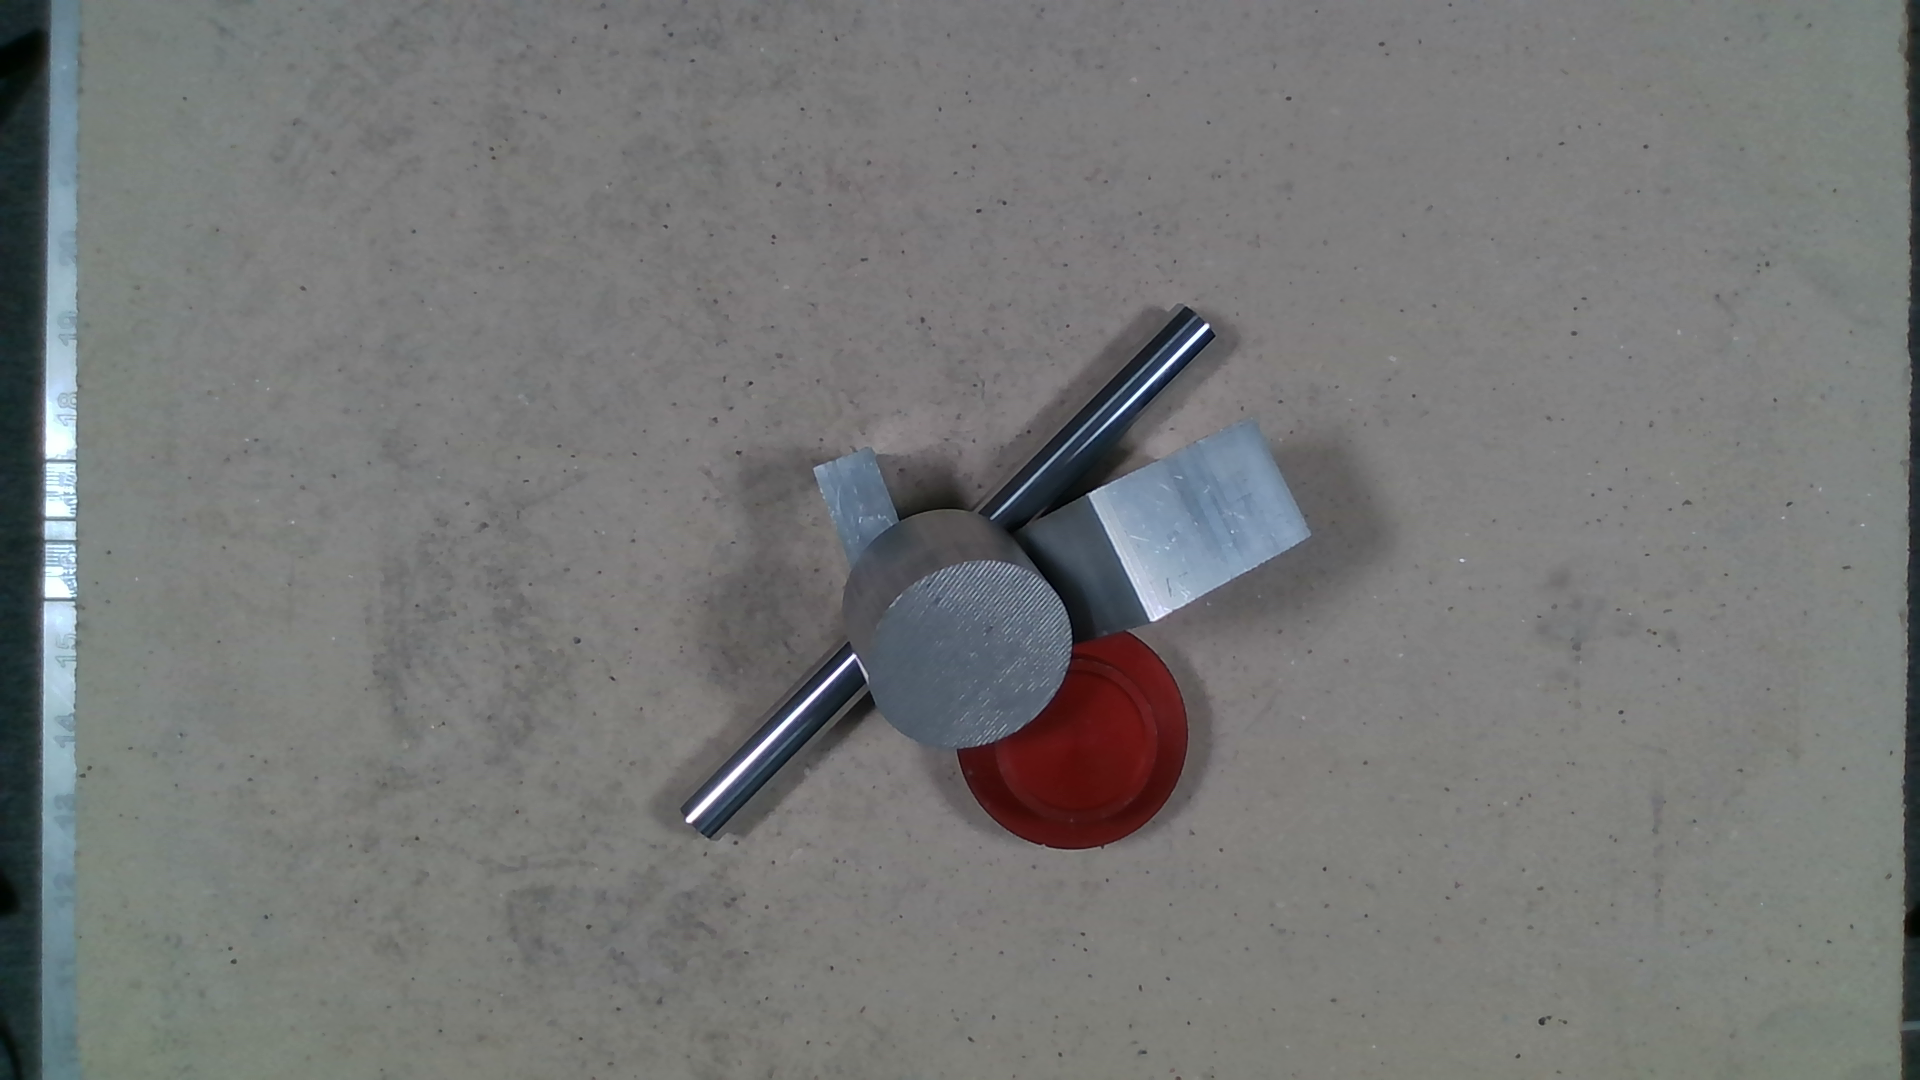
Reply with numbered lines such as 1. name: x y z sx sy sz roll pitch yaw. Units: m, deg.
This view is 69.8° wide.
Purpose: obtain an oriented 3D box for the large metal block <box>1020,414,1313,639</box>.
1. large metal block: 0.078 -0.002 0.549 0.080 0.080 0.050 -26 89 -22

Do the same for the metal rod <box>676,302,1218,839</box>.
1. metal rod: -0.006 0.013 0.588 0.300 0.025 0.025 -45 90 0

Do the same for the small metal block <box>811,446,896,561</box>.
1. small metal block: -0.039 -0.010 0.575 0.025 0.050 0.050 -22 91 -1

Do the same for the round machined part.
1. round machined part: 0.047 0.082 0.579 0.098 0.042 0.098 0 90 0

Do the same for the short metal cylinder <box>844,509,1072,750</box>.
1. short metal cylinder: -0.002 0.034 0.538 0.080 0.050 0.080 -7 115 -15
